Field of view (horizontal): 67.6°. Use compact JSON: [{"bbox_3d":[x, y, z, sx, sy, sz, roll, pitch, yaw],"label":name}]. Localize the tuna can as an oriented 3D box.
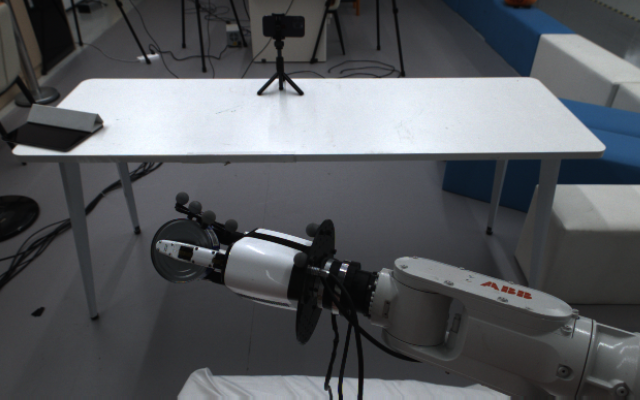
[{"bbox_3d":[-0.178,0.069,0.648,0.085,0.085,0.034,10,-4,11],"label":"tuna can"}]
